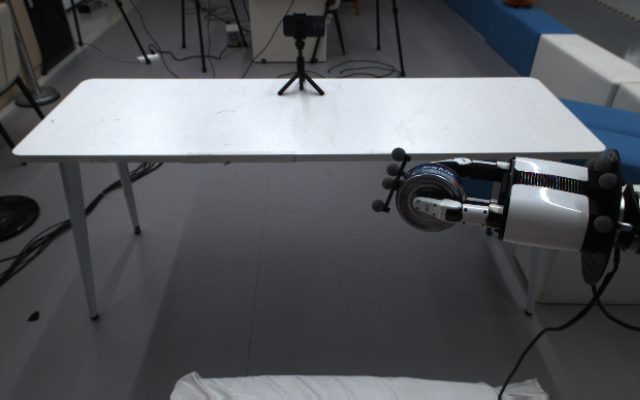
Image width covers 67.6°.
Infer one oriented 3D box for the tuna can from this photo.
[{"bbox_3d":[0.144,-0.005,0.622,0.085,0.085,0.034,11,29,13],"label":"tuna can"}]
